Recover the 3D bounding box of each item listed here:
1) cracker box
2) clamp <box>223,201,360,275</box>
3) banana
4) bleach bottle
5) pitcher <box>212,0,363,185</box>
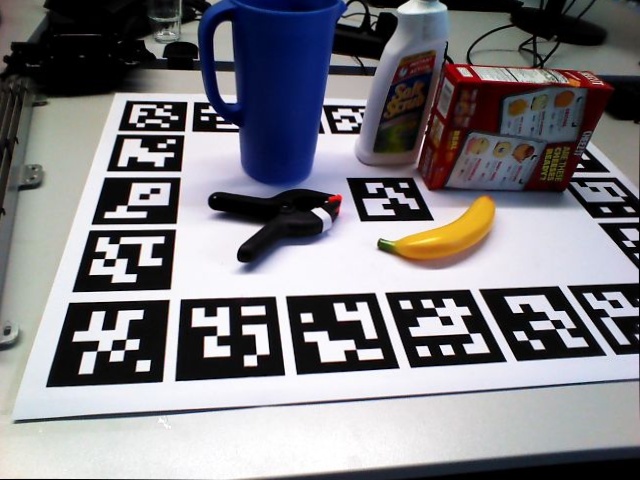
[{"bbox_3d":[0.293,-0.147,0.724,0.214,0.165,0.071,-2,37,-8],"label":"cracker box"},{"bbox_3d":[-0.023,-0.015,0.641,0.164,0.037,0.122,-12,41,-24],"label":"clamp"},{"bbox_3d":[0.196,-0.001,0.666,0.196,0.039,0.074,-28,50,-35],"label":"banana"},{"bbox_3d":[0.132,-0.210,0.735,0.102,0.252,0.067,-2,39,-10],"label":"bleach bottle"},{"bbox_3d":[-0.044,-0.194,0.660,0.188,0.243,0.133,-13,42,-27],"label":"pitcher"}]
